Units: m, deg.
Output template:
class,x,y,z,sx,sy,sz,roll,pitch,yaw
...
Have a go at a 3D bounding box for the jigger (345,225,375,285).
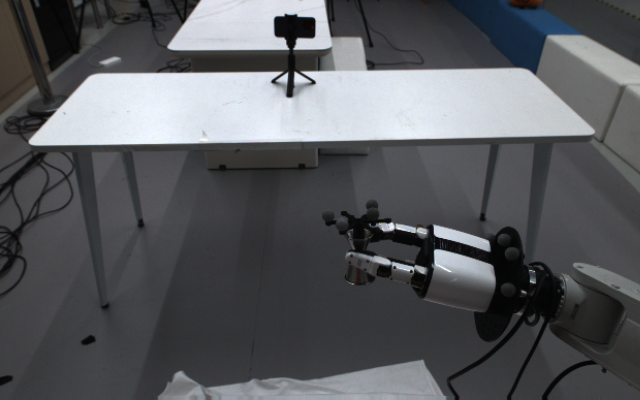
class,x,y,z,sx,sy,sz,roll,pitch,yaw
jigger,0.054,0.077,0.668,0.043,0.071,0.043,-2,19,1
